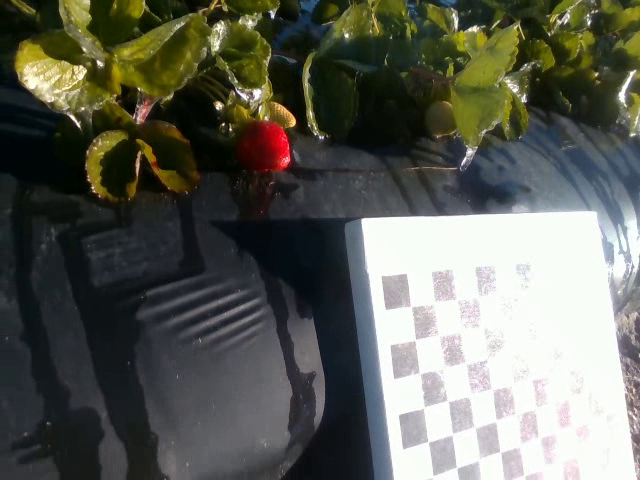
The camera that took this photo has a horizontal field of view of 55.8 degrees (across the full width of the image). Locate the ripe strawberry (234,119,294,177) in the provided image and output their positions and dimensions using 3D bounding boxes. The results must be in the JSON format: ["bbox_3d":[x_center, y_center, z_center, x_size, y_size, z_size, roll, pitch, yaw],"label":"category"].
[{"bbox_3d":[-0.026,-0.047,0.320,0.039,0.040,0.039,-15,25,-25],"label":"ripe strawberry"}]
